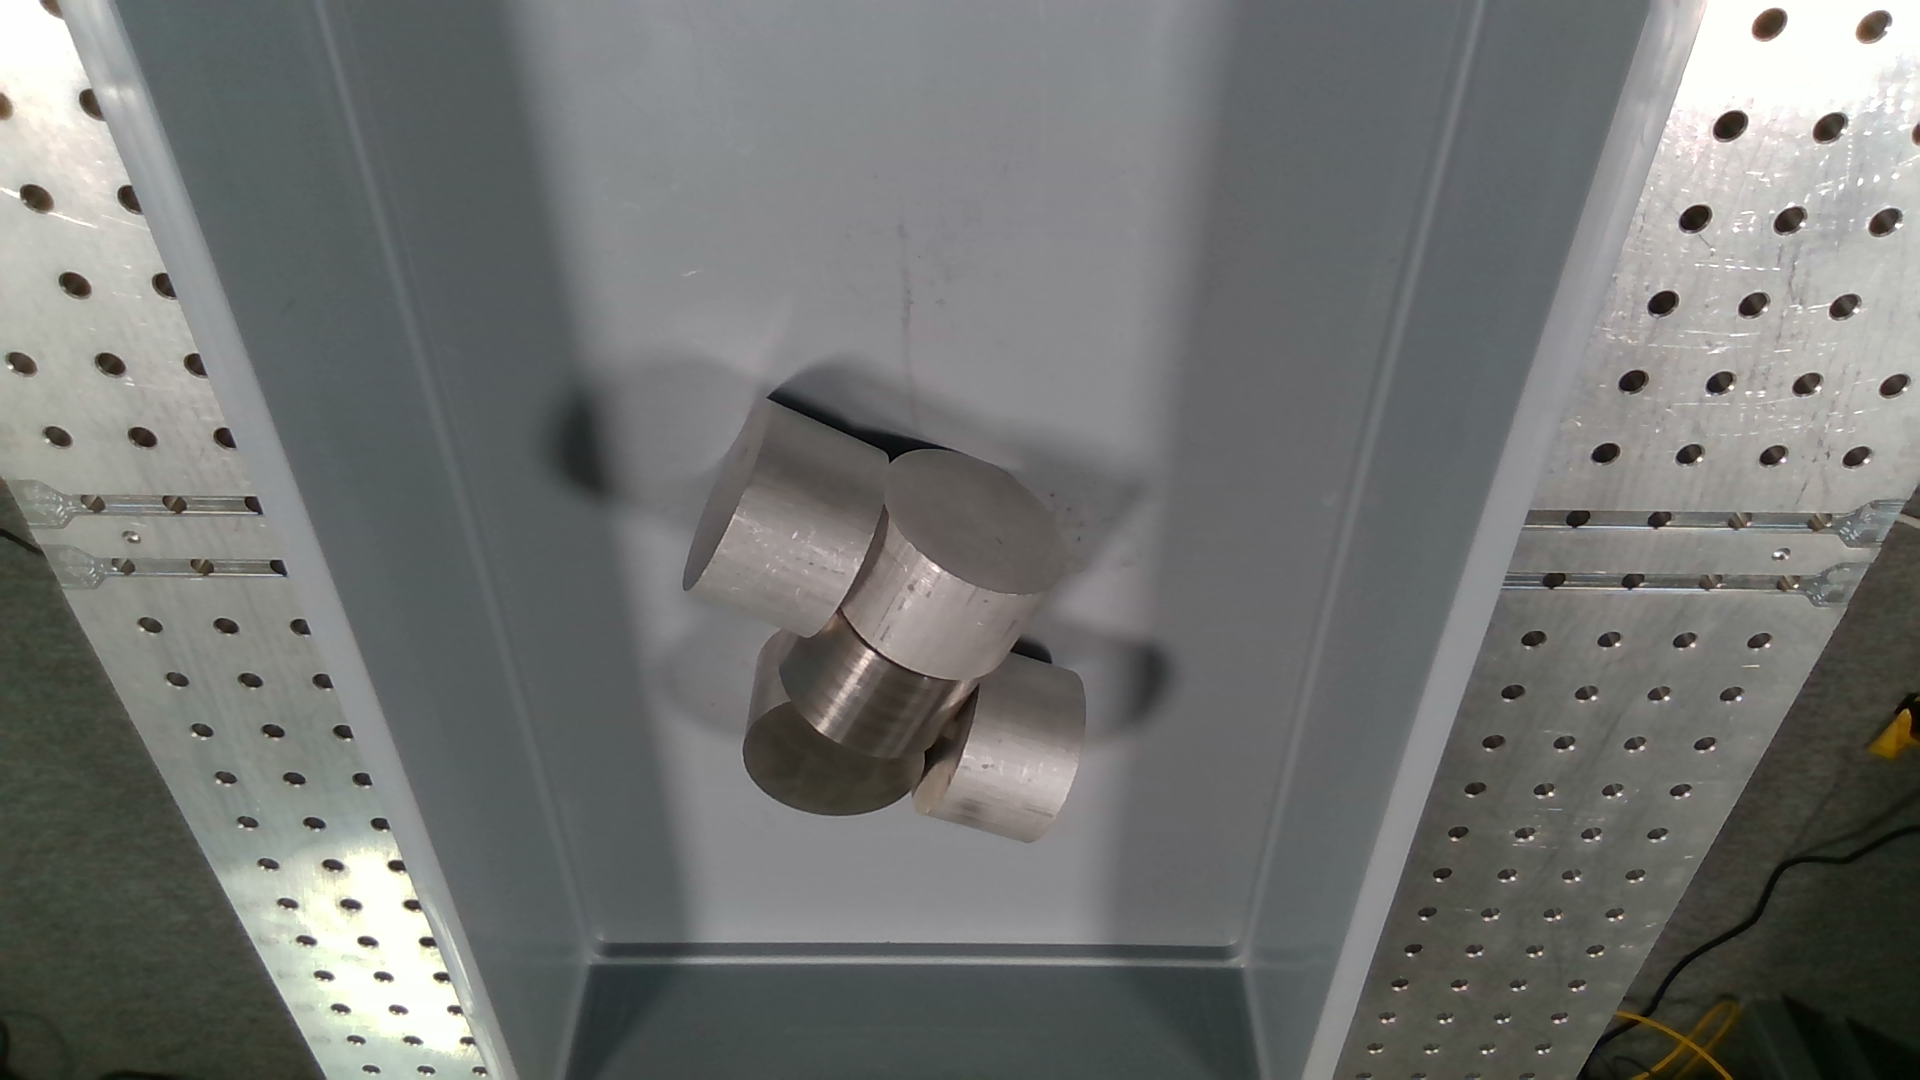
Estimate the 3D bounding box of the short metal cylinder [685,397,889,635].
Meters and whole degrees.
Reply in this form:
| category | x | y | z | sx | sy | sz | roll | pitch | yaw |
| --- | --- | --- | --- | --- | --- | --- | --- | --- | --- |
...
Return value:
| category | x | y | z | sx | sy | sz | roll | pitch | yaw |
| --- | --- | --- | --- | --- | --- | --- | --- | --- | --- |
| short metal cylinder | -0.068 | -0.009 | 0.534 | 0.050 | 0.080 | 0.080 | 23 | 126 | -18 |

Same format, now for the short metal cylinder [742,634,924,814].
| category | x | y | z | sx | sy | sz | roll | pitch | yaw |
| --- | --- | --- | --- | --- | --- | --- | --- | --- | --- |
| short metal cylinder | -0.056 | 0.080 | 0.628 | 0.080 | 0.050 | 0.080 | 0 | 130 | 0 |

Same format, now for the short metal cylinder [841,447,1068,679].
| category | x | y | z | sx | sy | sz | roll | pitch | yaw |
| --- | --- | --- | --- | --- | --- | --- | --- | --- | --- |
| short metal cylinder | -0.004 | 0.009 | 0.549 | 0.080 | 0.080 | 0.050 | 20 | 127 | -16 |

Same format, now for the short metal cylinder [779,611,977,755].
| category | x | y | z | sx | sy | sz | roll | pitch | yaw |
| --- | --- | --- | --- | --- | --- | --- | --- | --- | --- |
| short metal cylinder | -0.030 | 0.043 | 0.579 | 0.080 | 0.080 | 0.050 | 21 | 127 | -17 |

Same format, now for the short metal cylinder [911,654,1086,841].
| category | x | y | z | sx | sy | sz | roll | pitch | yaw |
| --- | --- | --- | --- | --- | --- | --- | --- | --- | --- |
| short metal cylinder | 0.016 | 0.089 | 0.617 | 0.050 | 0.080 | 0.080 | 18 | 128 | -15 |
